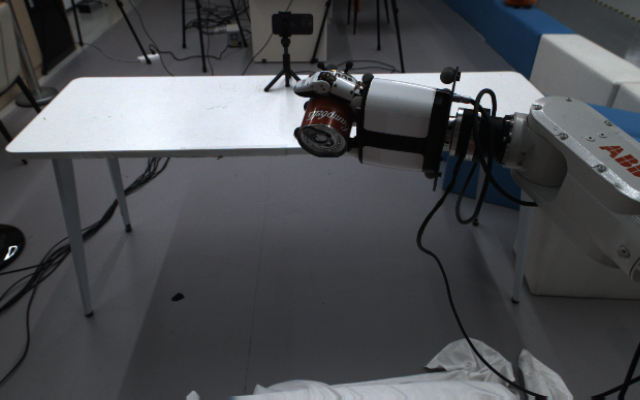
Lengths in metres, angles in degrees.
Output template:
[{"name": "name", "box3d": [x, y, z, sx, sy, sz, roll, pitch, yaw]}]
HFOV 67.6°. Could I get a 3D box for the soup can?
[{"name": "soup can", "box3d": [0.014, -0.117, 0.652, 0.067, 0.067, 0.101, 9, 59, 10]}]
